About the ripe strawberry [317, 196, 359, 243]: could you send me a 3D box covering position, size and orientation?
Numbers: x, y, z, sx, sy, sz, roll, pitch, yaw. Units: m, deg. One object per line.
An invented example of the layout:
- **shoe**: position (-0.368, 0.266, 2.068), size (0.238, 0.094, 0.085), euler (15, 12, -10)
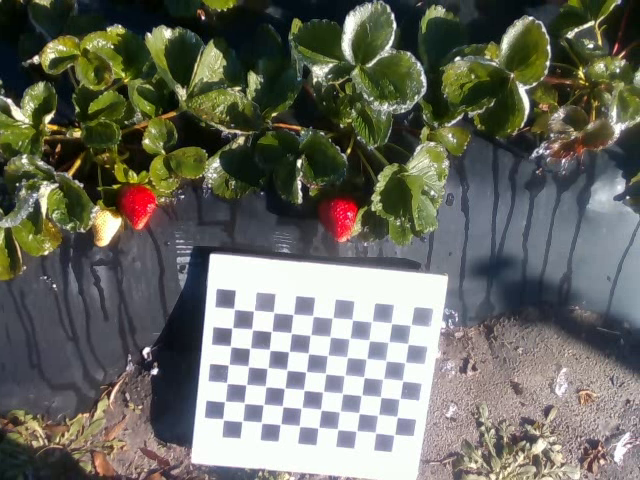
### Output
- **ripe strawberry**: position (0.021, -0.022, 0.720), size (0.048, 0.061, 0.044), euler (-1, -21, -2)

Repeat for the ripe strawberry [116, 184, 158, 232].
- **ripe strawberry**: position (-0.207, -0.032, 0.716), size (0.042, 0.061, 0.046), euler (-8, -30, 0)
